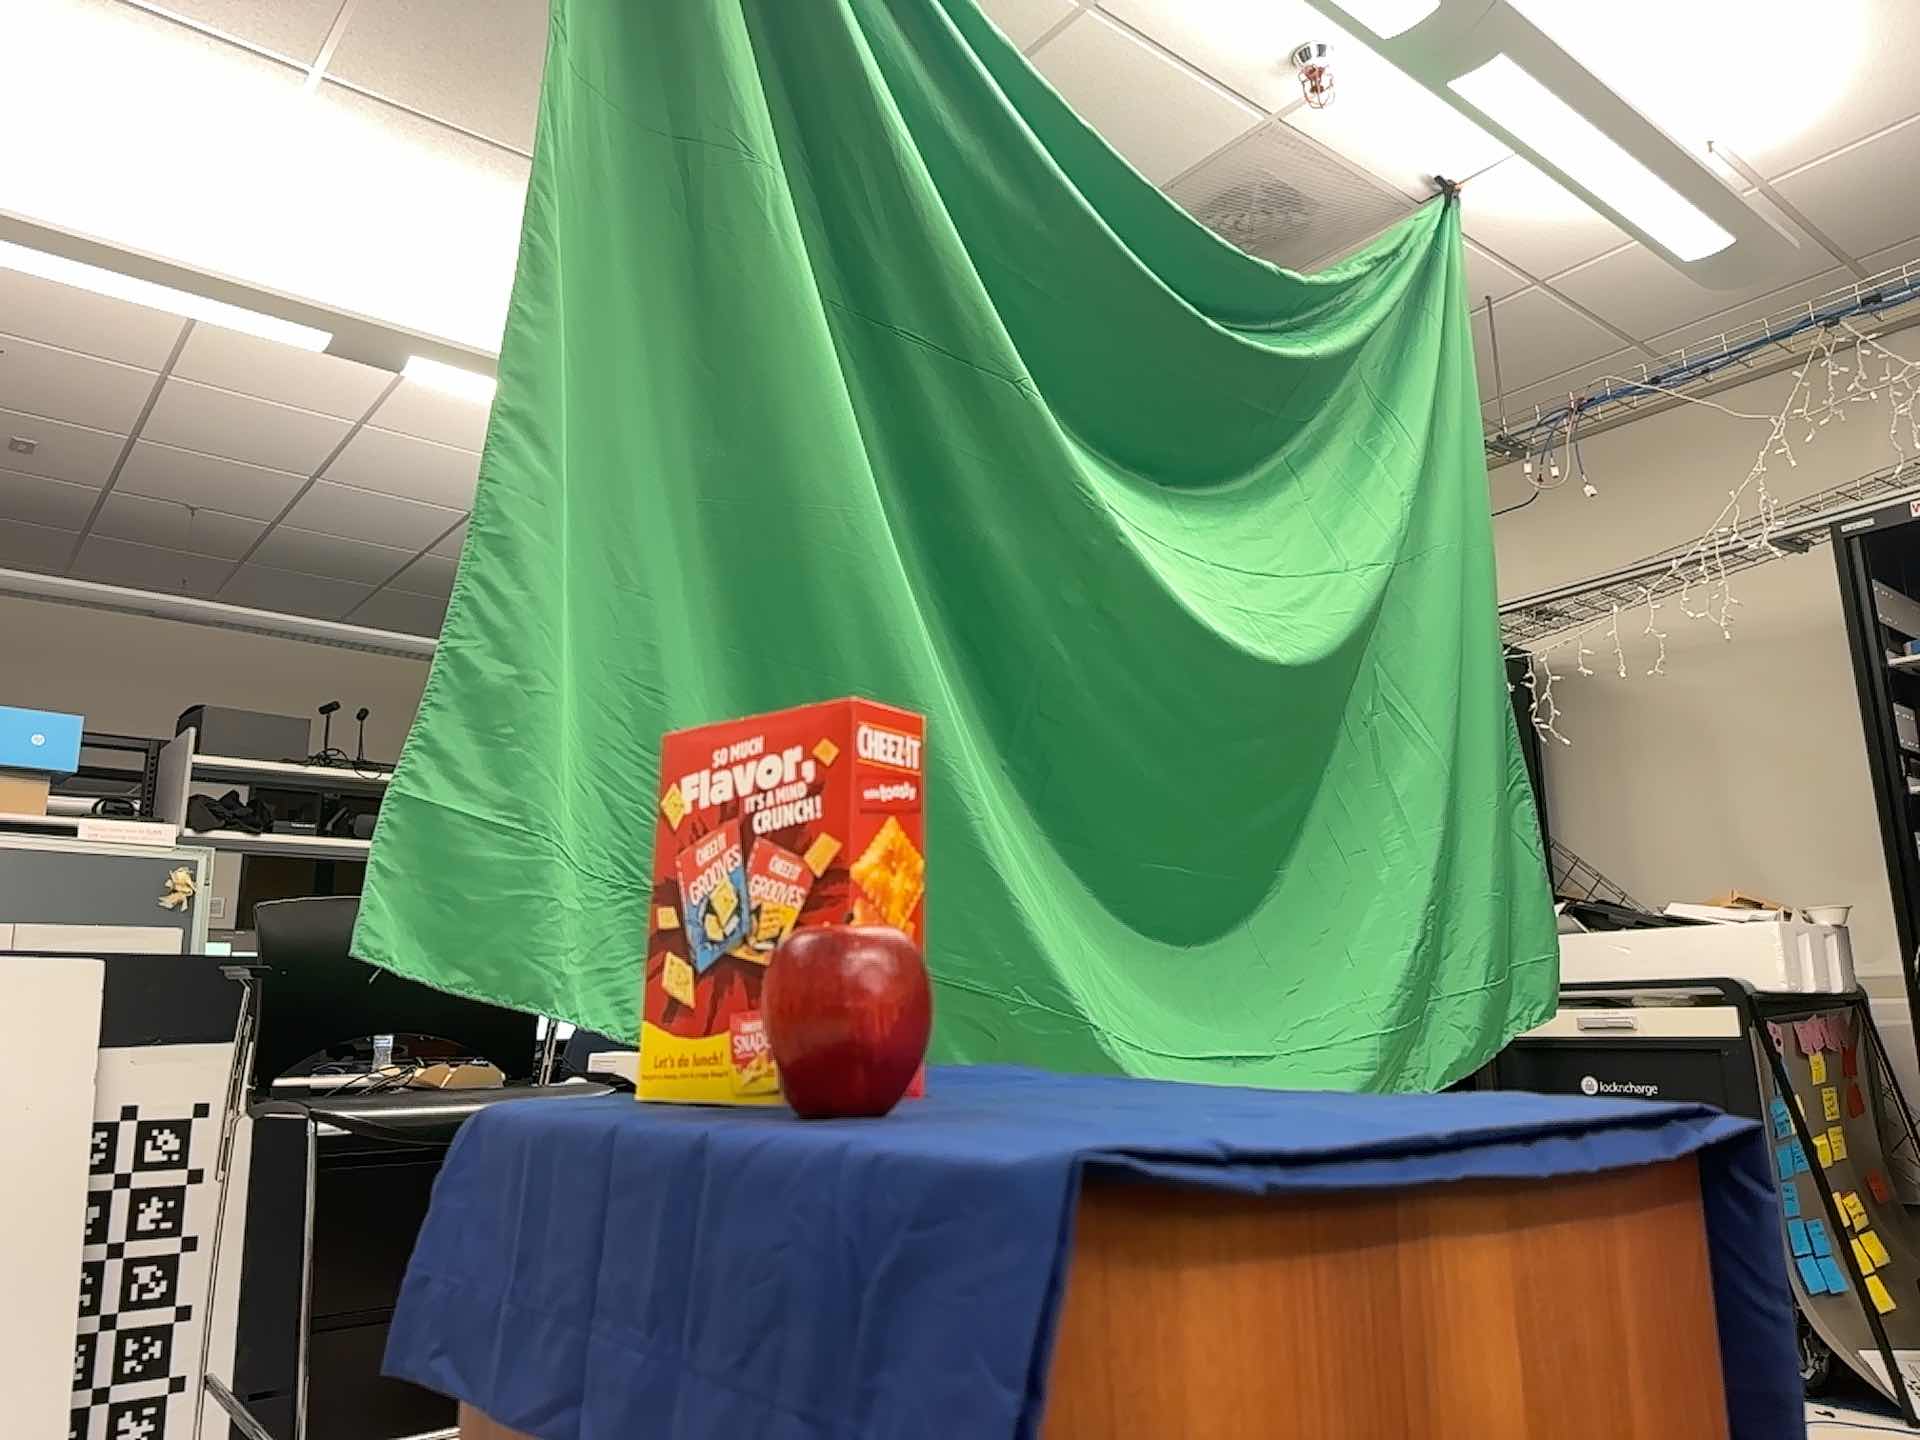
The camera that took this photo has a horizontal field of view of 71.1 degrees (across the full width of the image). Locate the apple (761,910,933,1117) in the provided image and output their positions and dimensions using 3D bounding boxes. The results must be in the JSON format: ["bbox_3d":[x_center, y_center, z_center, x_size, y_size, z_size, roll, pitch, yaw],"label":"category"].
[{"bbox_3d":[-0.052,0.136,0.628,0.079,0.093,0.079,-3,-12,-1],"label":"apple"}]

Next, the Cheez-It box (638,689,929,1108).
[{"bbox_3d":[-0.102,0.104,0.767,0.159,0.214,0.062,-9,-13,35],"label":"Cheez-It box"}]
